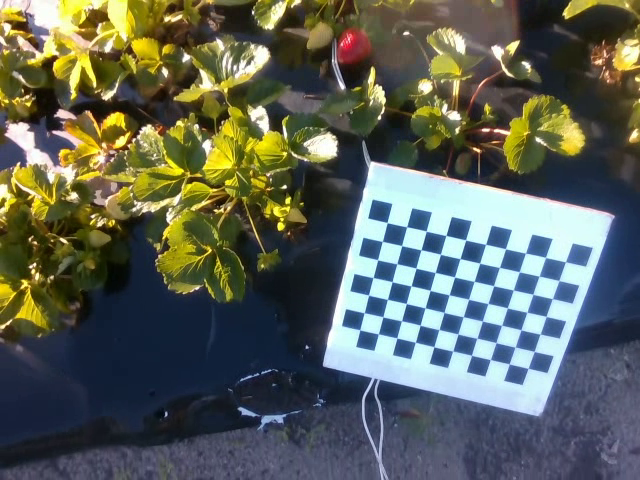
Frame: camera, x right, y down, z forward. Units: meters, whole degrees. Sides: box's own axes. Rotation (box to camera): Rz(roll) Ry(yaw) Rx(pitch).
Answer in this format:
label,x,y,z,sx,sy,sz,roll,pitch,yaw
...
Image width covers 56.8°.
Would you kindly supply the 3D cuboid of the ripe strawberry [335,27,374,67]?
label,x,y,z,sx,sy,sz,roll,pitch,yaw
ripe strawberry,0.049,-0.291,0.858,0.062,0.080,0.040,40,-28,-9
